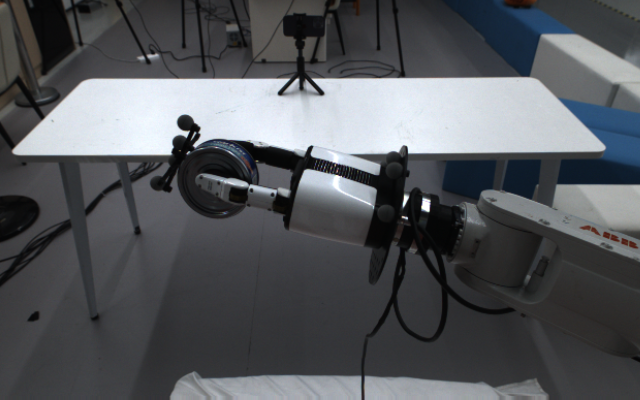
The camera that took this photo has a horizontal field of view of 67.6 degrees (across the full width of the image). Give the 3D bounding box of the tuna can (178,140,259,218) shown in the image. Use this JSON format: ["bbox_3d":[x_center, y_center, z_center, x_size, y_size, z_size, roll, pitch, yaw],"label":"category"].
[{"bbox_3d":[-0.110,-0.019,0.539,0.085,0.085,0.034,3,21,2],"label":"tuna can"}]
